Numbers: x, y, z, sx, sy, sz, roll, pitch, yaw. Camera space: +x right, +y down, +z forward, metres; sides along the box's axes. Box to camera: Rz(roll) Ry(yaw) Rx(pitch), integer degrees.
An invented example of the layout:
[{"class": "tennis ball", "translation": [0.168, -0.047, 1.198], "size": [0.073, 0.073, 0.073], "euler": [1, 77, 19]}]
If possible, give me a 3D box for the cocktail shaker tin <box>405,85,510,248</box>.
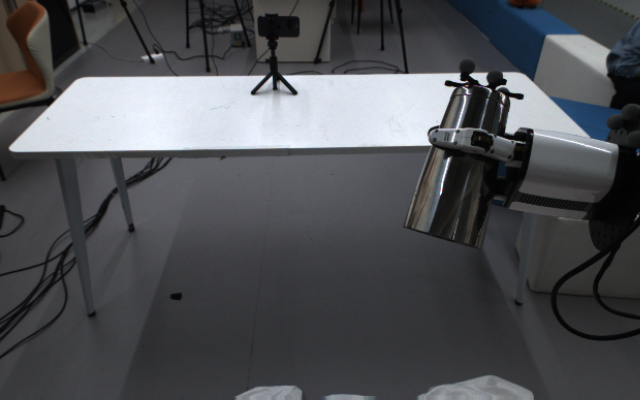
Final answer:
[{"class": "cocktail shaker tin", "translation": [0.165, -0.039, 0.556], "size": [0.093, 0.170, 0.093], "euler": [16, -2, 1]}]
